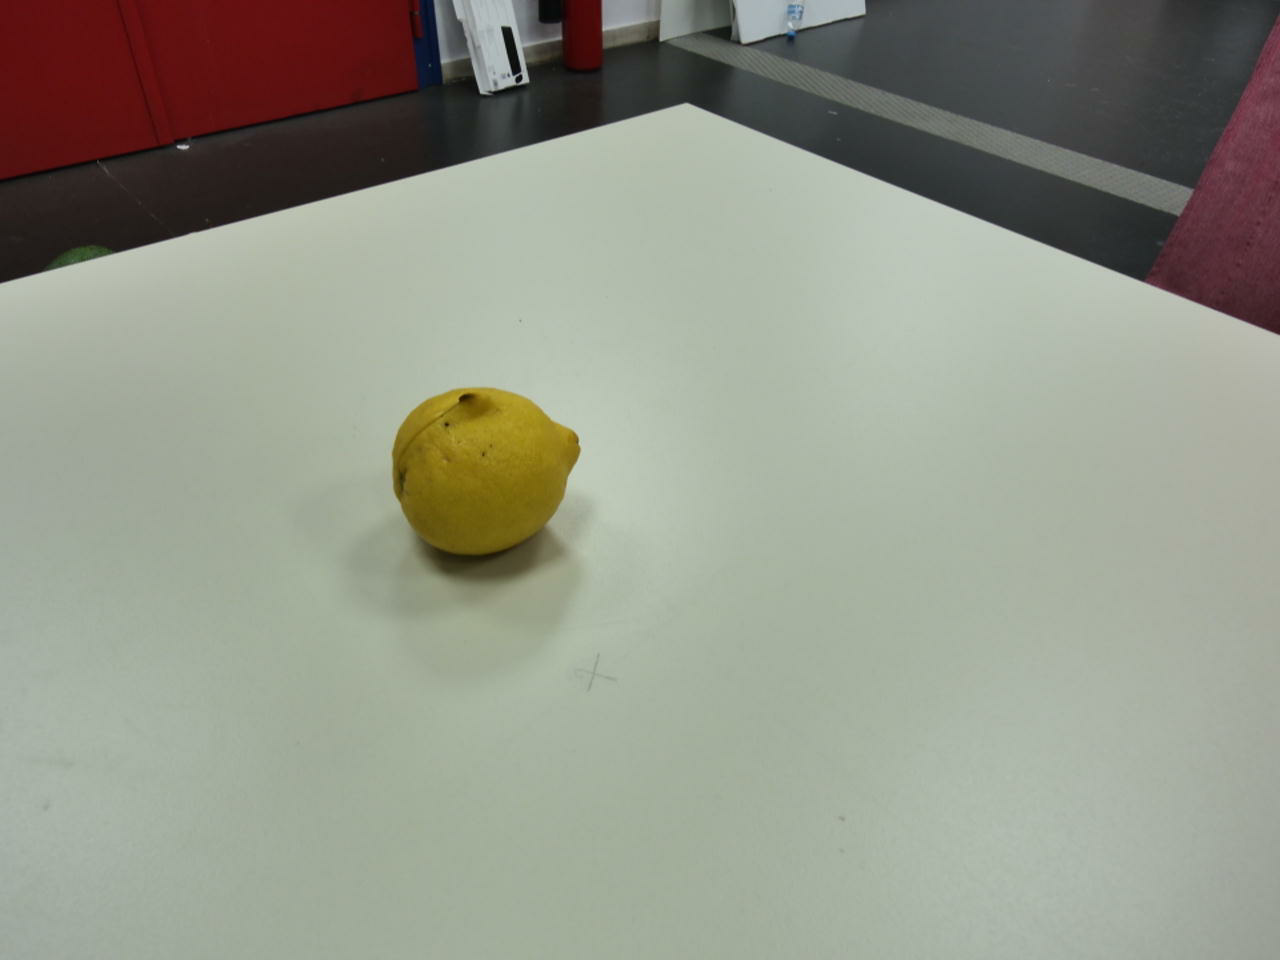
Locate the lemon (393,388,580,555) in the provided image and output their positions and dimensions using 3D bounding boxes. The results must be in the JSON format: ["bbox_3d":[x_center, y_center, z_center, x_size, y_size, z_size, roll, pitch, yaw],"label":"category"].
[{"bbox_3d":[-0.066,-0.007,0.405,0.071,0.071,0.070,11,38,13],"label":"lemon"}]
